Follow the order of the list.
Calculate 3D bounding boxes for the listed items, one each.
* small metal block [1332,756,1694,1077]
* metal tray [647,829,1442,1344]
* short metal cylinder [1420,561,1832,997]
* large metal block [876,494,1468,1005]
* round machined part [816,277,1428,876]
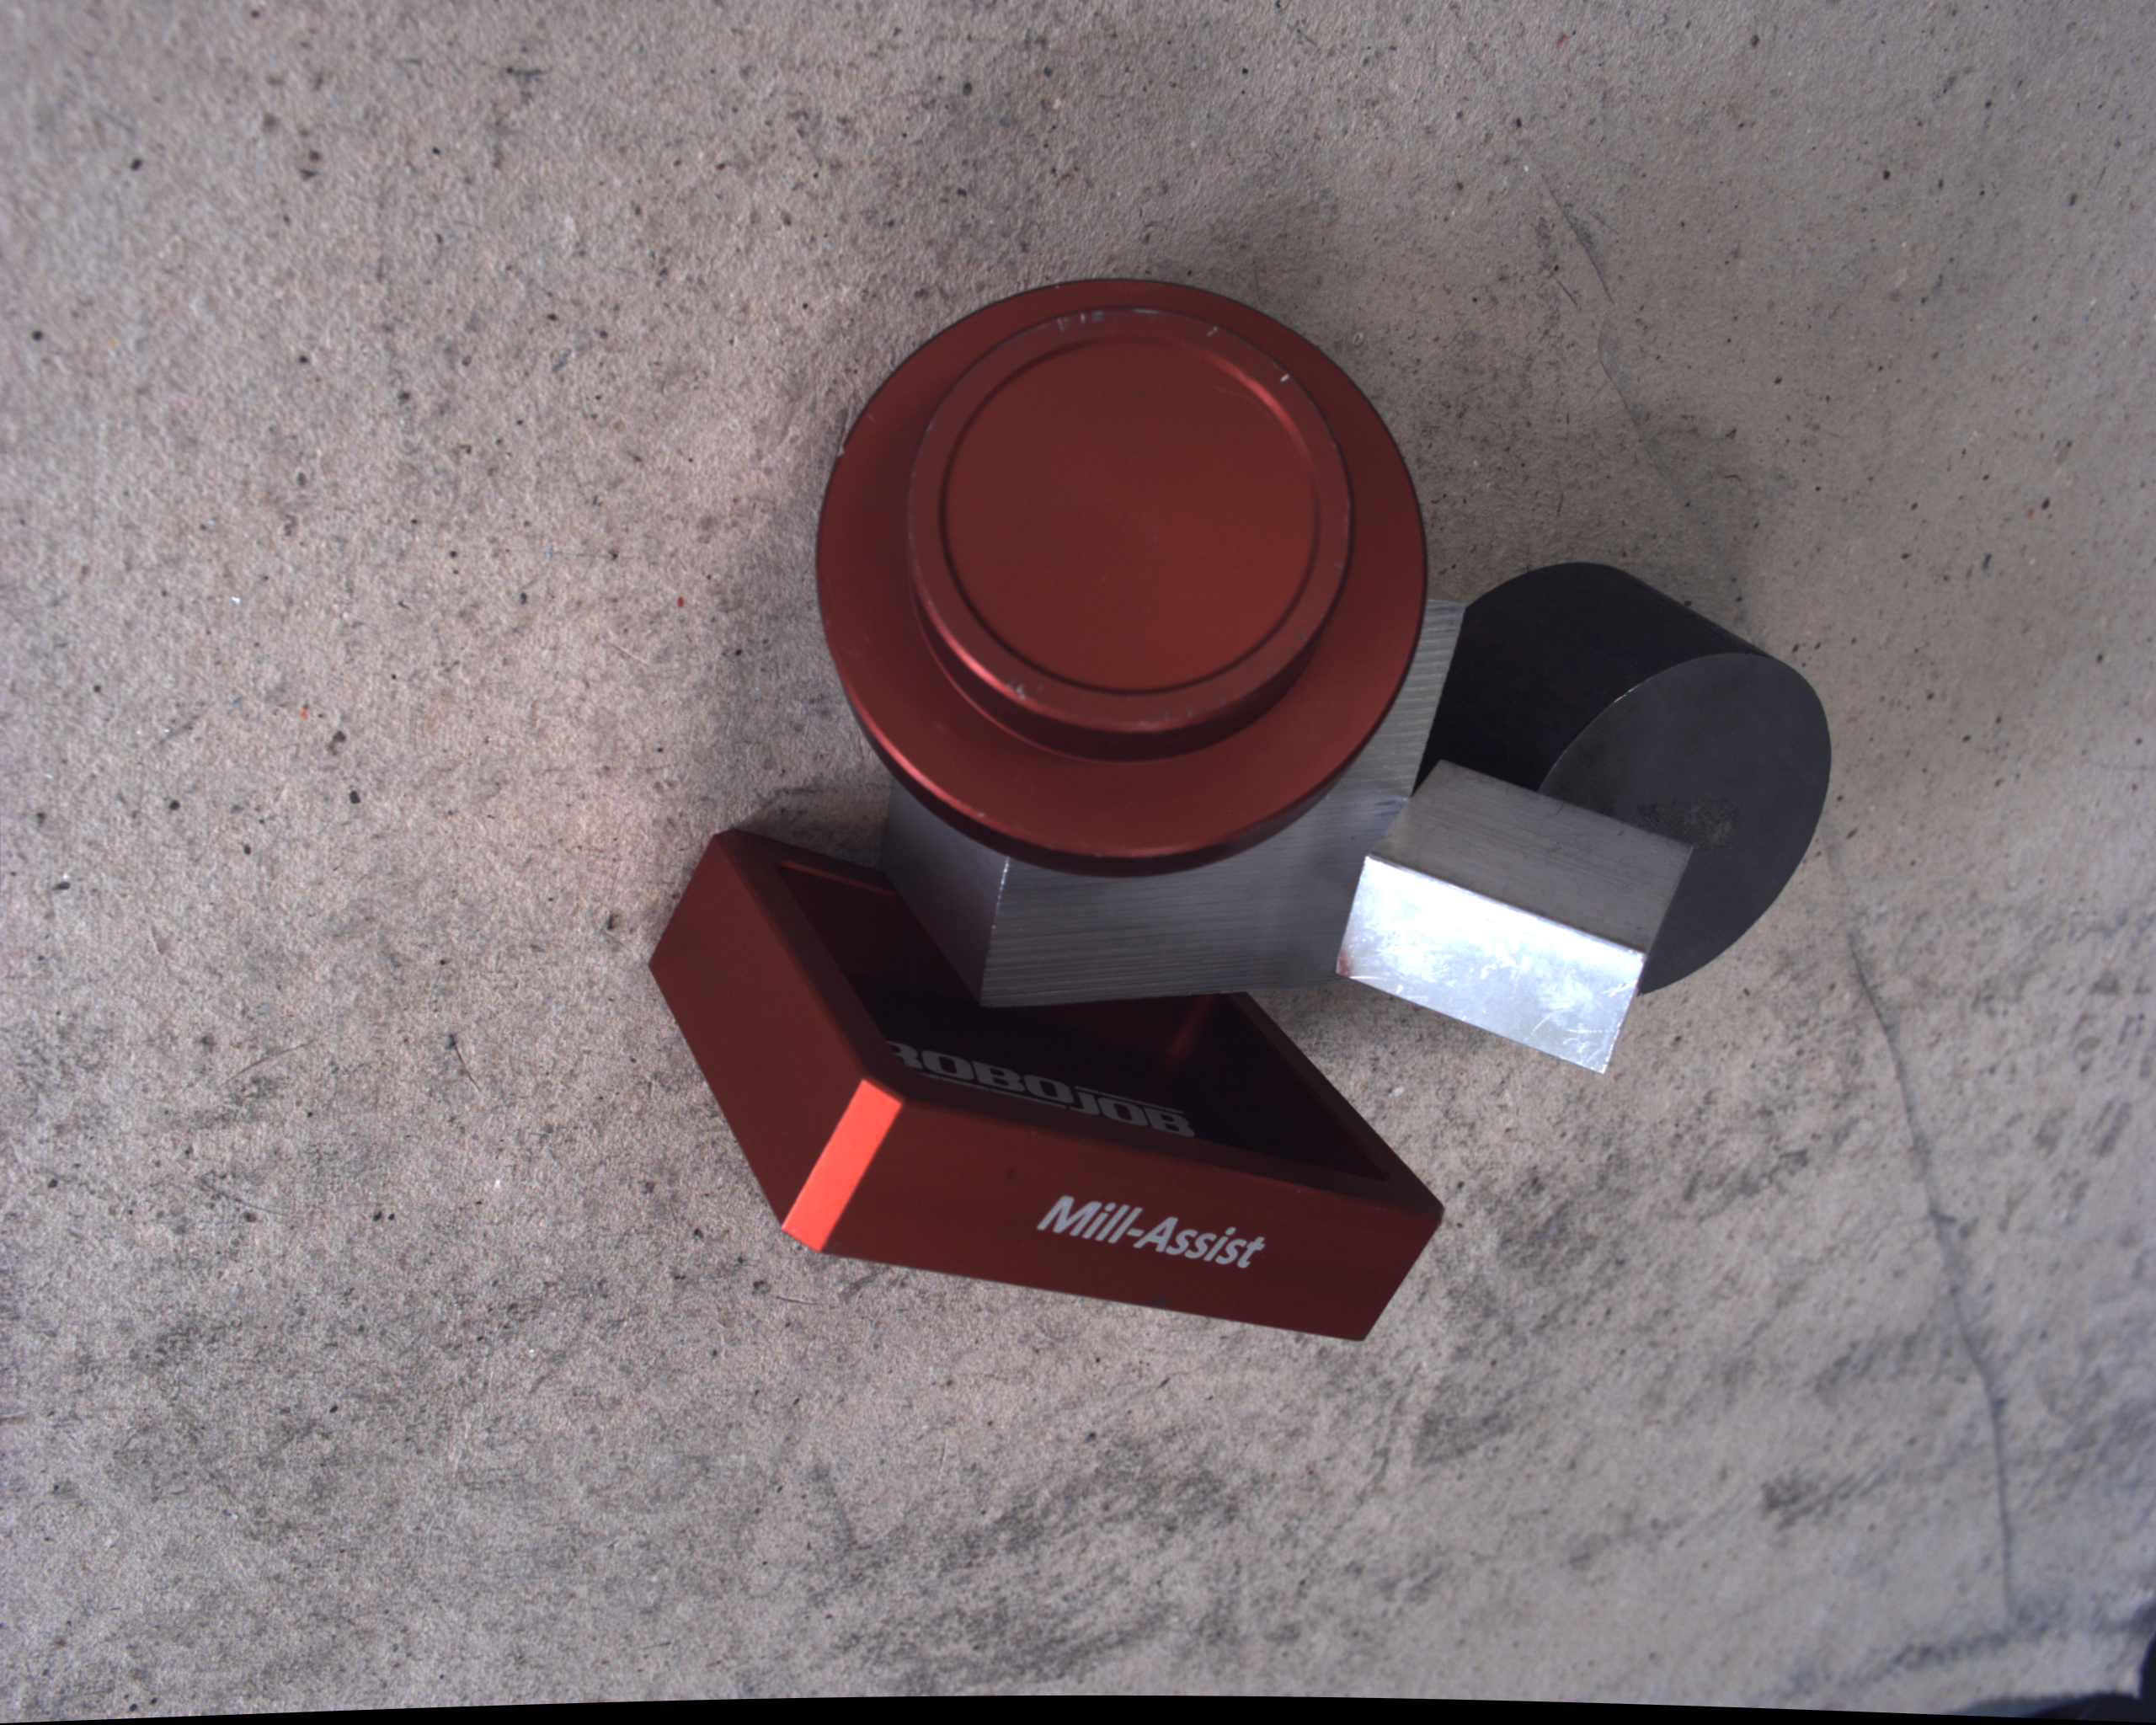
[{"bbox_3d":[0.080,0.008,0.382,0.050,0.050,0.025,-44,151,-56],"label":"small metal block"},{"bbox_3d":[-0.005,0.042,0.389,0.131,0.090,0.030,18,109,-35],"label":"metal tray"},{"bbox_3d":[0.110,-0.018,0.443,0.081,0.050,0.079,-14,124,-21],"label":"short metal cylinder"},{"bbox_3d":[0.015,-0.023,0.388,0.081,0.050,0.079,-2,119,-28],"label":"large metal block"},{"bbox_3d":[0.007,-0.049,0.334,0.098,0.098,0.042,-32,173,-8],"label":"round machined part"}]
